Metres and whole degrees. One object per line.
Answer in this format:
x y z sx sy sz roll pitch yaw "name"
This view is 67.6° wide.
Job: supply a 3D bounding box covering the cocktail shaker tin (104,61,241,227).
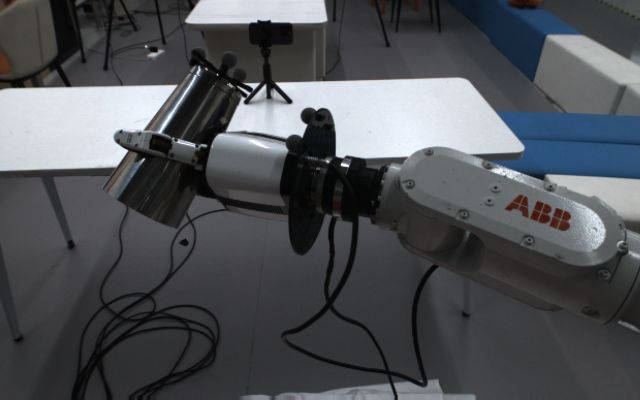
-0.160 -0.067 0.554 0.093 0.093 0.170 26 83 31 "cocktail shaker tin"
